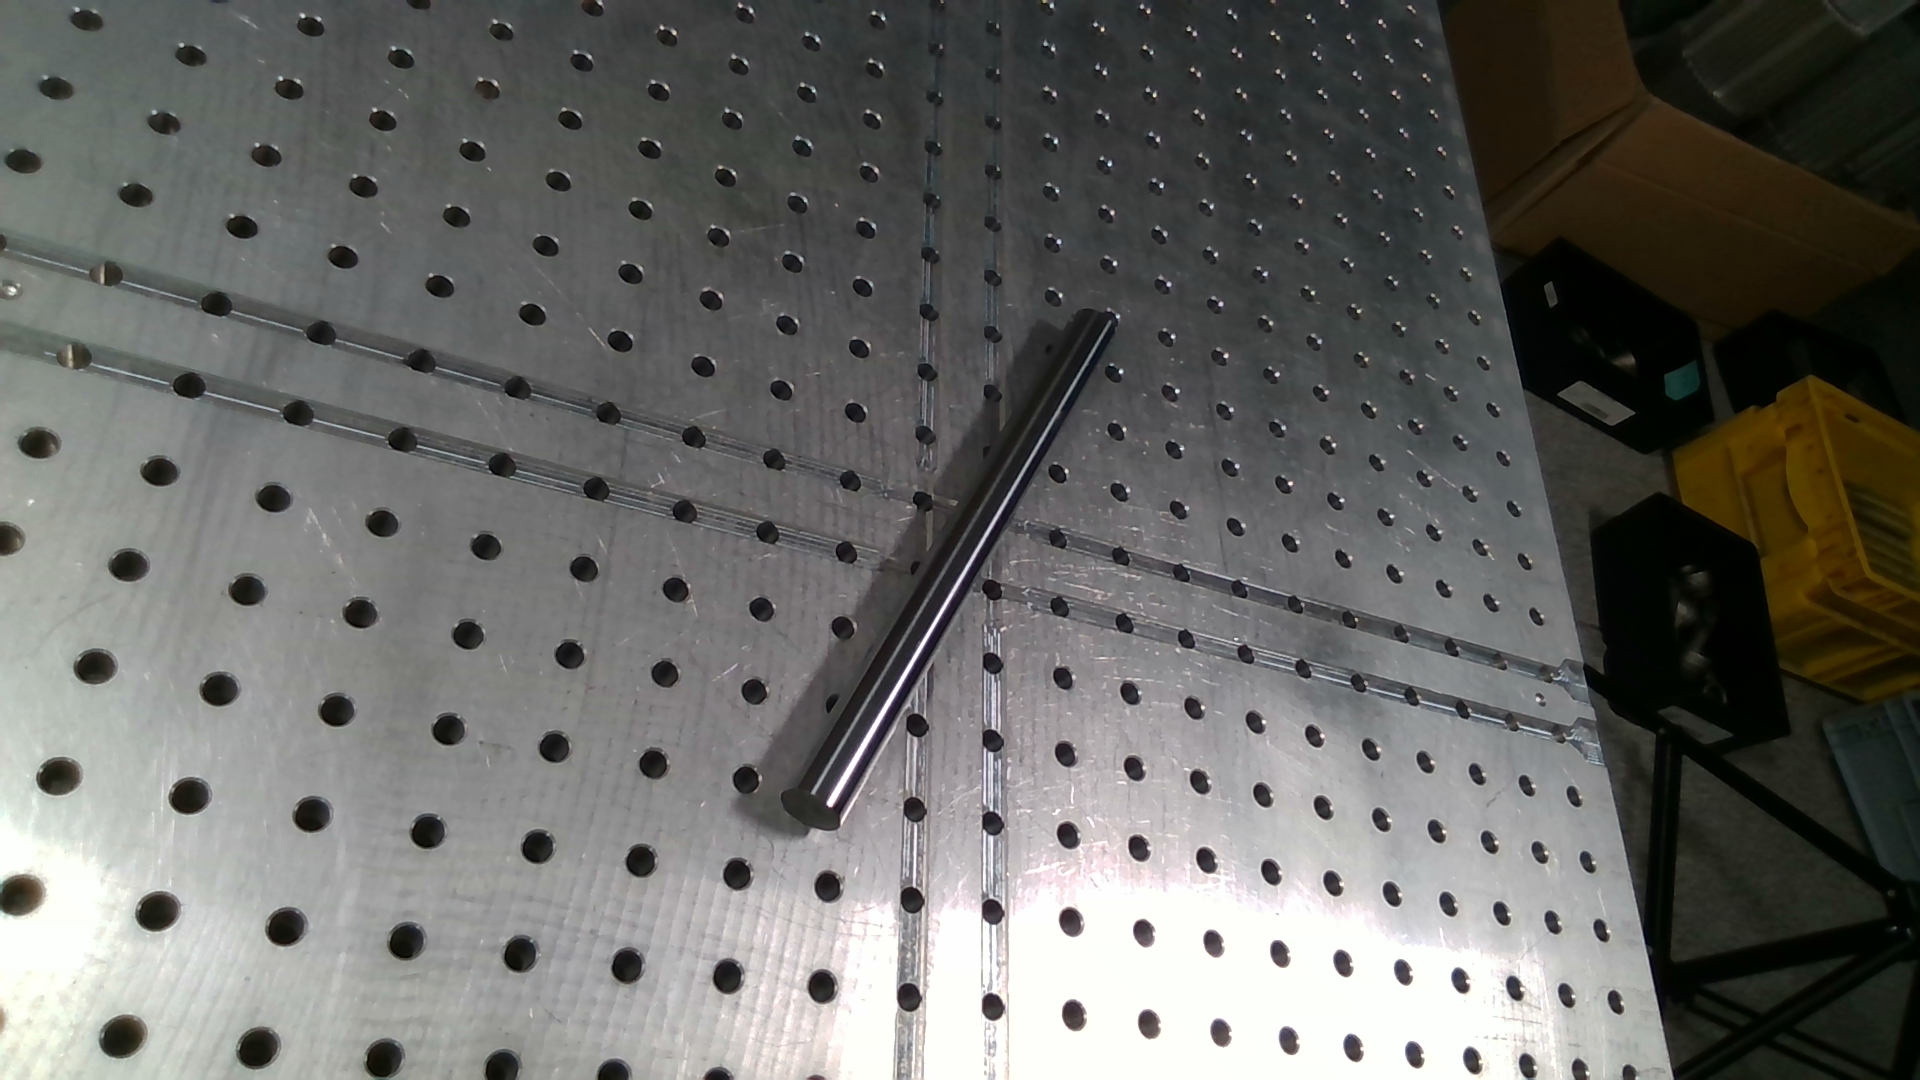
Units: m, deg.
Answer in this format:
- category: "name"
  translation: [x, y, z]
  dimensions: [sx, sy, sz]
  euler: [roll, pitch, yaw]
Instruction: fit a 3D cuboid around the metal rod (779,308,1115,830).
- category: "metal rod"
  translation: [0.005, -0.003, 0.594]
  dimensions: [0.025, 0.025, 0.299]
  euler: [38, 52, -9]
